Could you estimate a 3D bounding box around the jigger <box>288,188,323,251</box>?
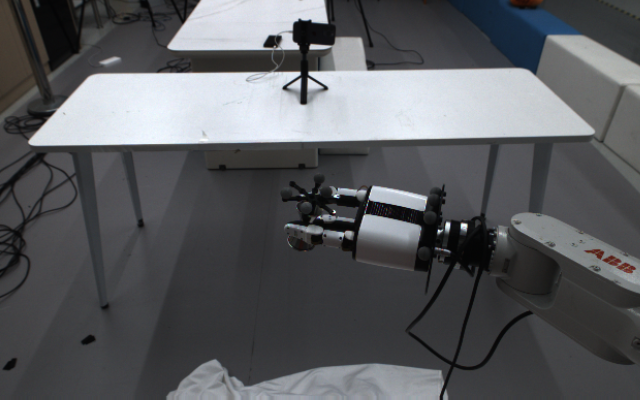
[{"bbox_3d":[-0.022,0.037,0.723,0.043,0.071,0.043,10,35,-7],"label":"jigger"}]
